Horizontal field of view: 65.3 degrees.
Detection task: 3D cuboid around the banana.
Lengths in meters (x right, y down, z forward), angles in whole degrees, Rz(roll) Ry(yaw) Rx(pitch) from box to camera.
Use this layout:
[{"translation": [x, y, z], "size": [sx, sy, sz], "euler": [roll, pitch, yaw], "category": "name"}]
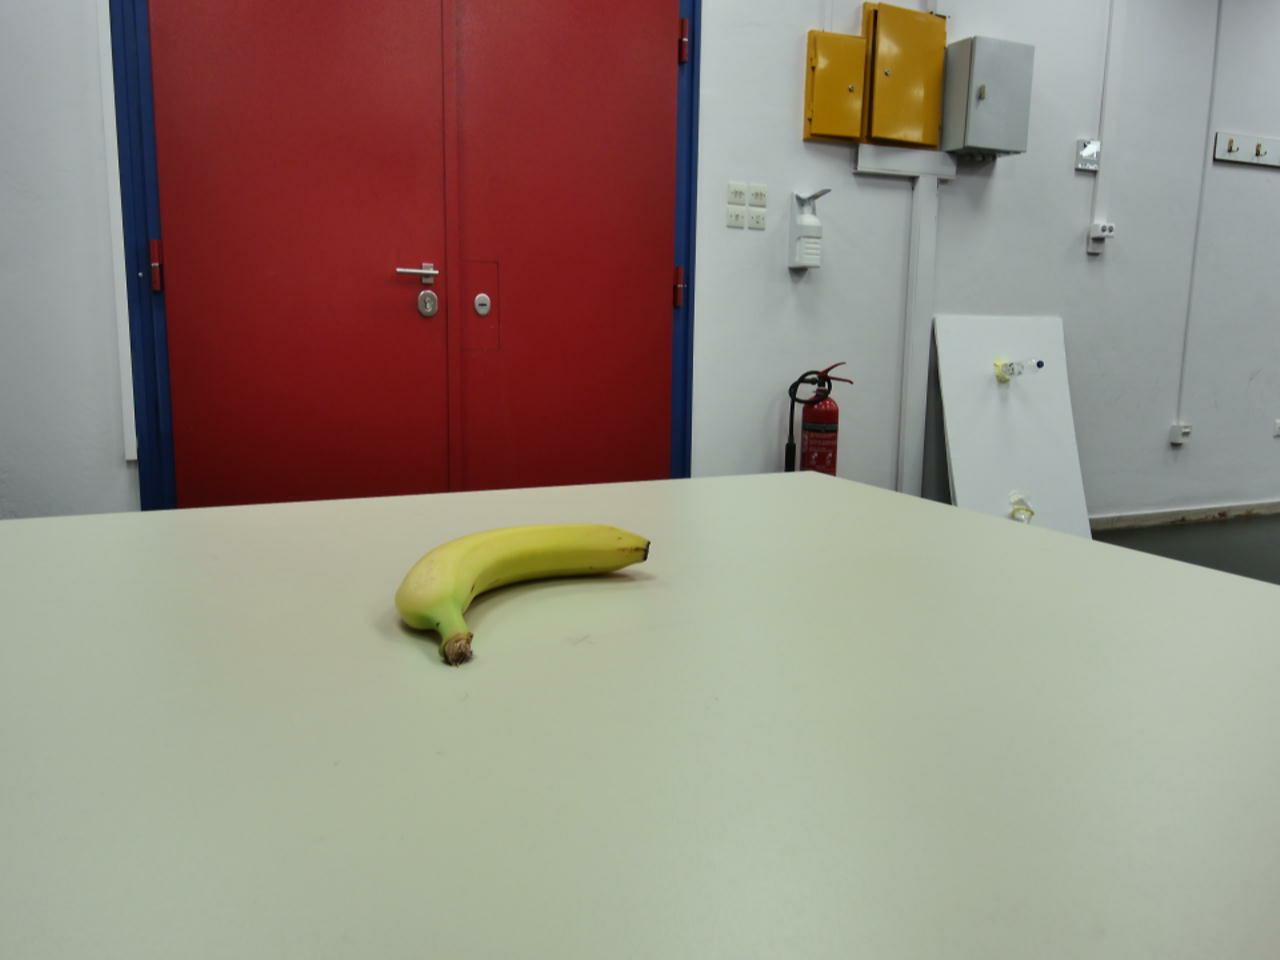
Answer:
[{"translation": [-0.078, 0.053, 0.574], "size": [0.094, 0.041, 0.196], "euler": [5, 8, 29], "category": "banana"}]
